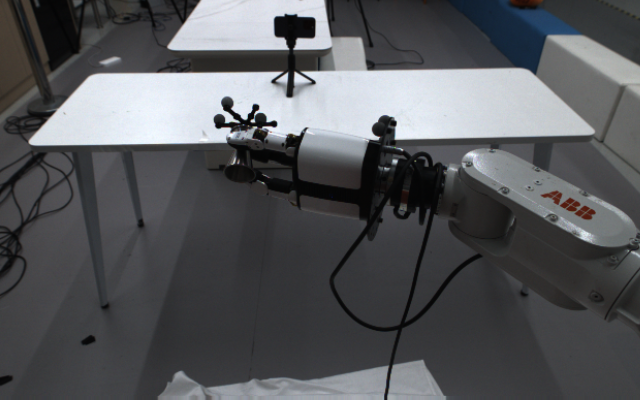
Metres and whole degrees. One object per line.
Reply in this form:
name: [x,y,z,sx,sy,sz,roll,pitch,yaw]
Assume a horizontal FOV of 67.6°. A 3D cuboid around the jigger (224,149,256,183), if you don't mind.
jigger: [-0.106,-0.066,0.657,0.043,0.043,0.071,2,59,-1]
